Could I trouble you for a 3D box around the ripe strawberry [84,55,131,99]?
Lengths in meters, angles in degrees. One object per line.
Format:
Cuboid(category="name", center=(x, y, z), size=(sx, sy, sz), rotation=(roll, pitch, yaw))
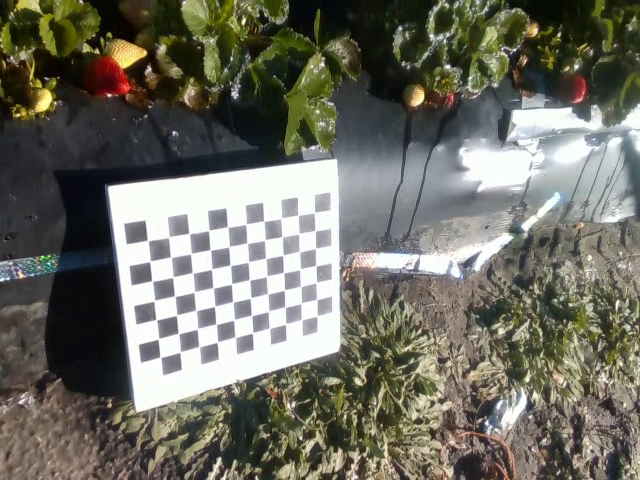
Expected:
Cuboid(category="ripe strawberry", center=(-0.192, -0.146, 0.608), size=(0.053, 0.040, 0.042), rotation=(32, -20, 28))
